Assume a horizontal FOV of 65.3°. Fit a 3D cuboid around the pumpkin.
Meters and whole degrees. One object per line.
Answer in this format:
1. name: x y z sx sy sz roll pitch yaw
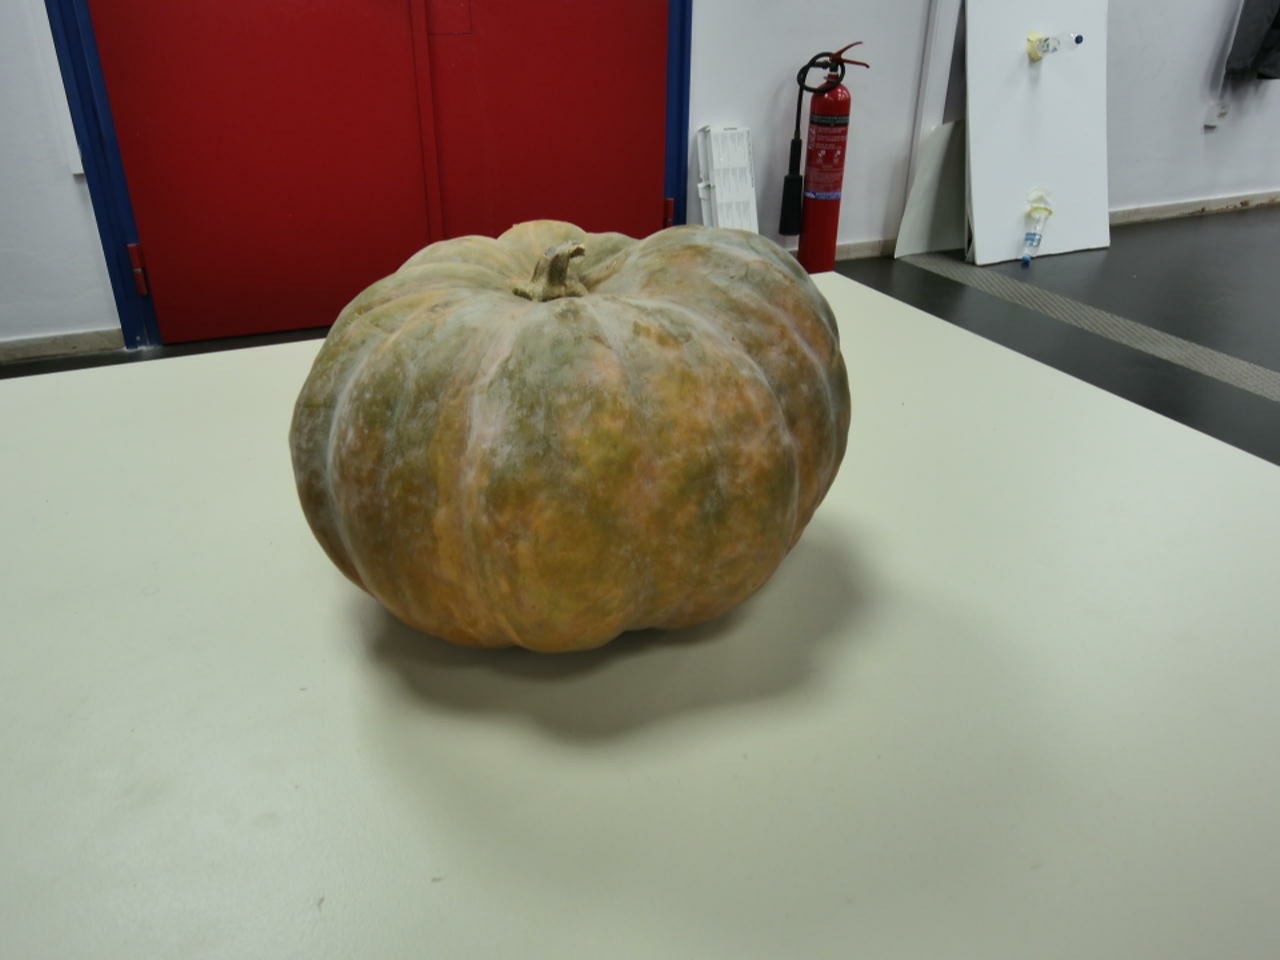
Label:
1. pumpkin: -0.033 -0.027 0.458 0.252 0.169 0.251 0 26 0
